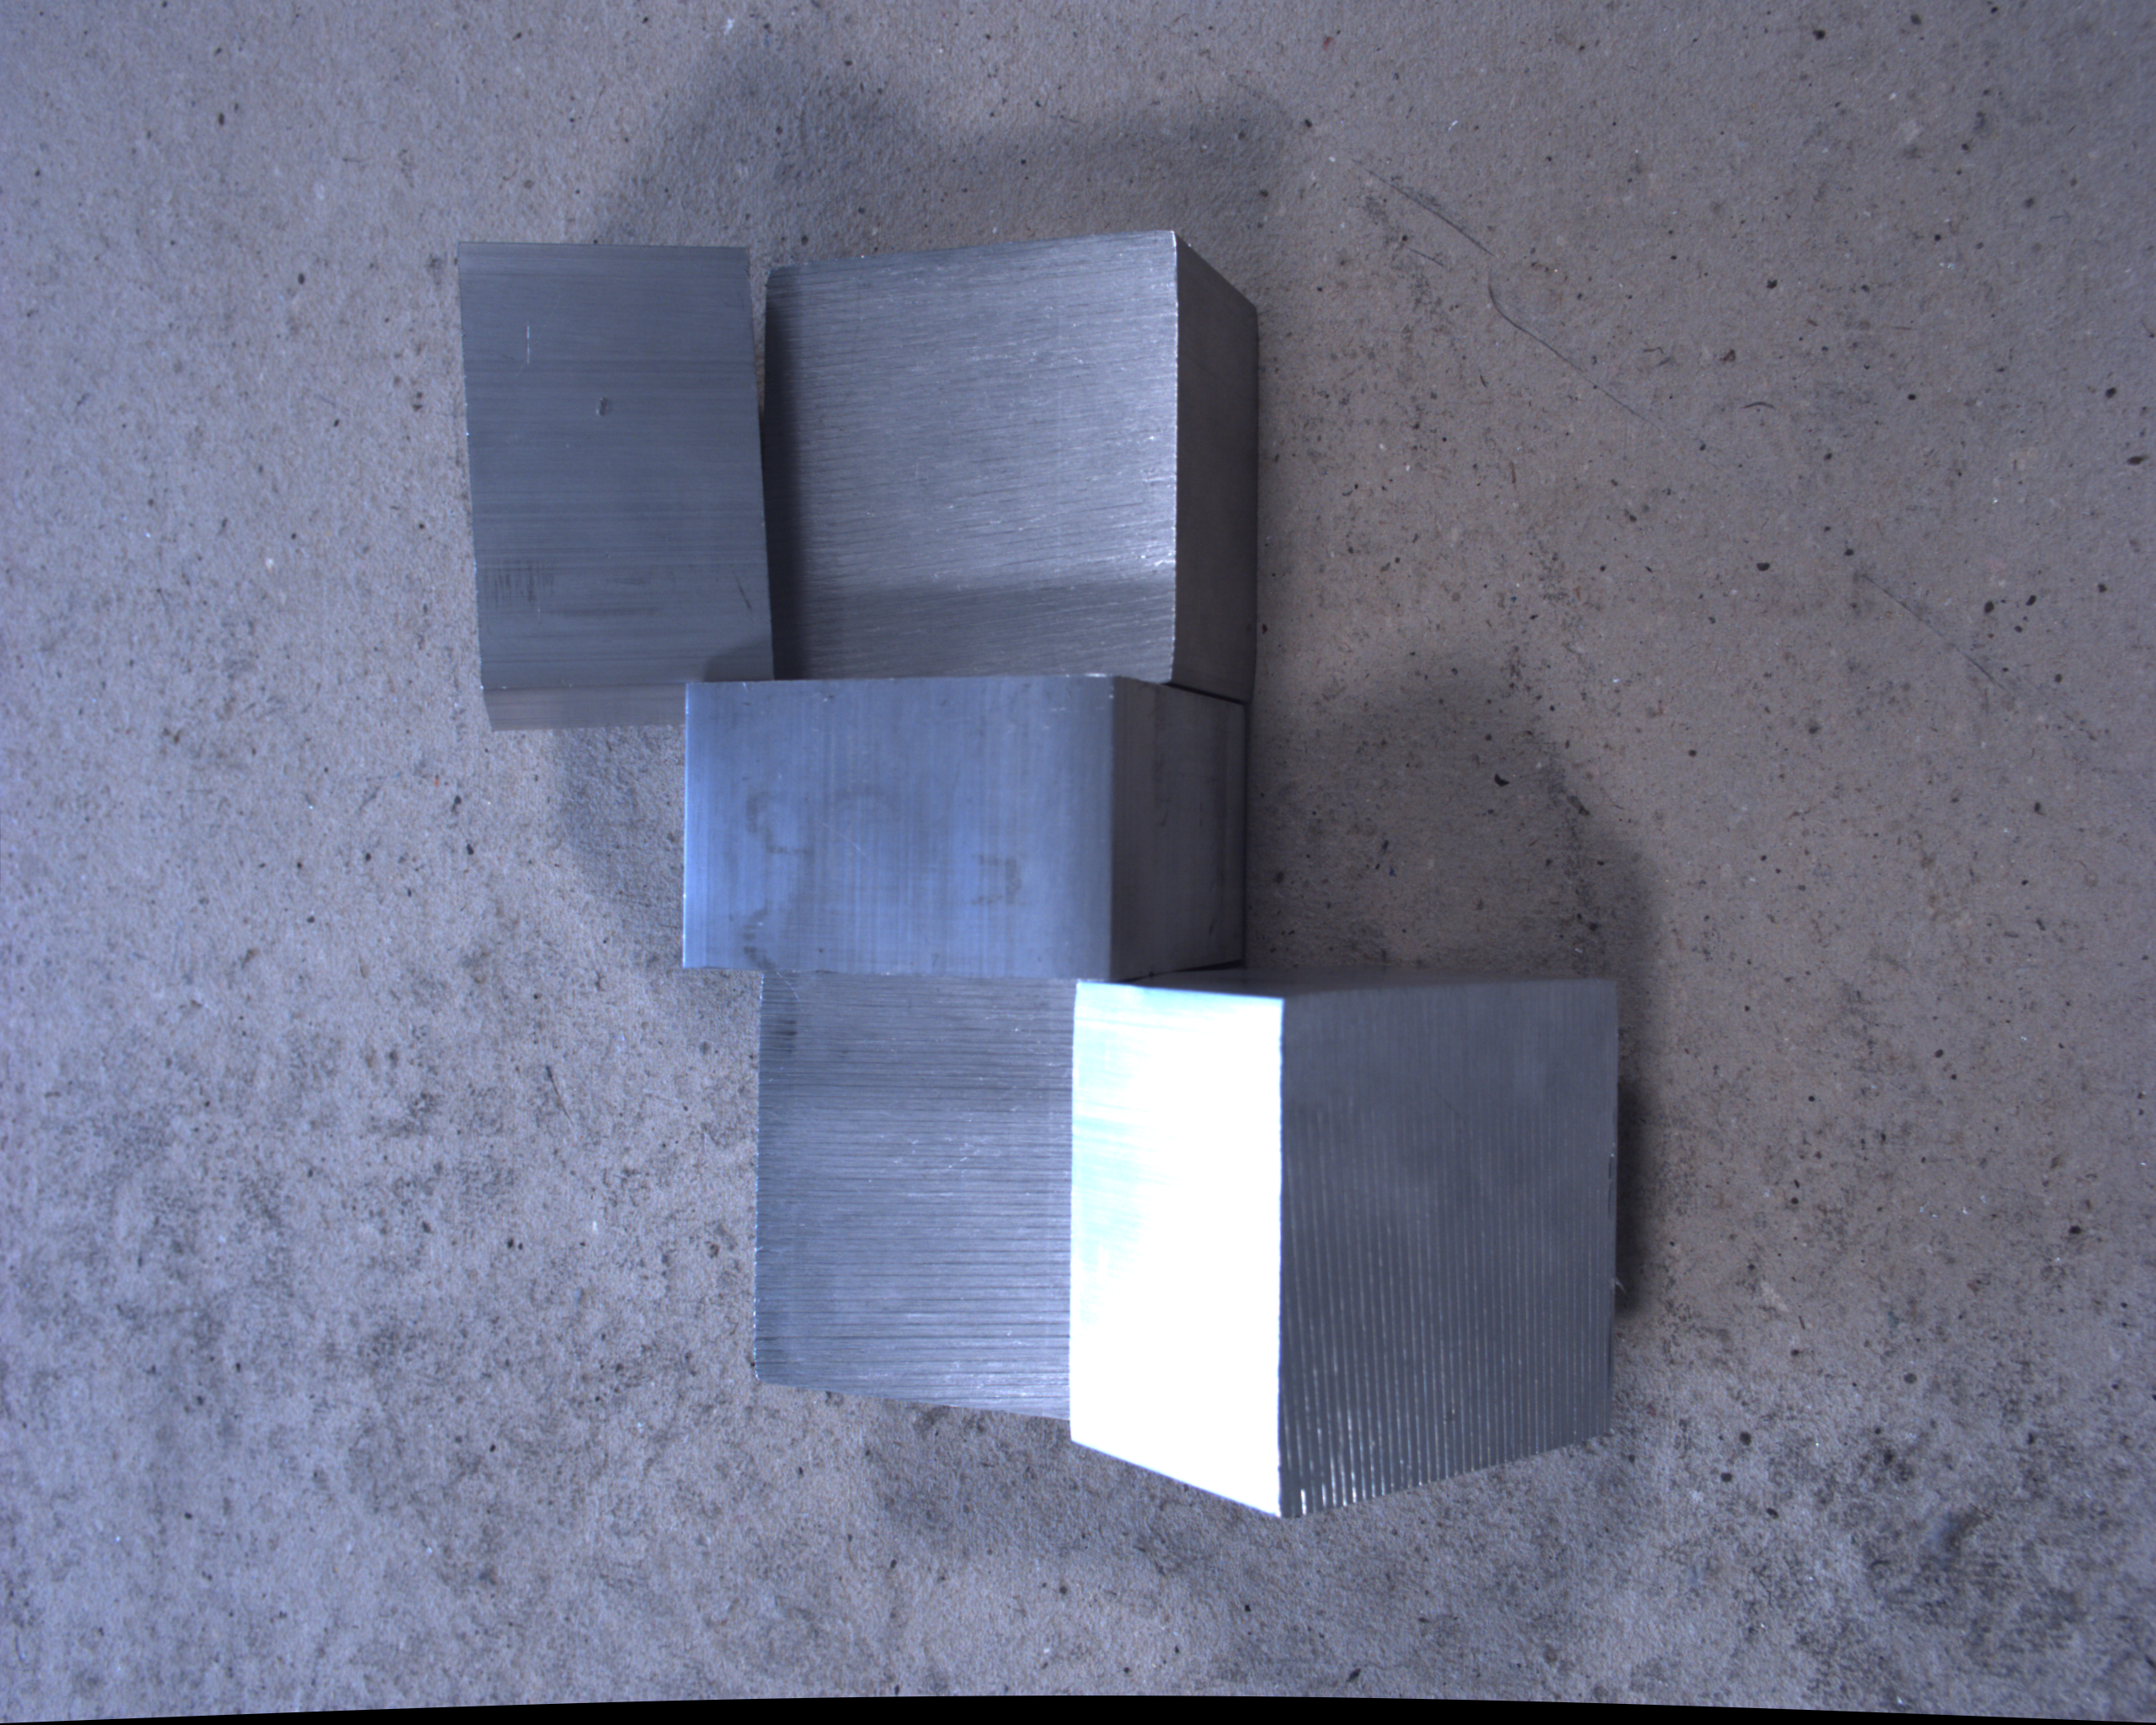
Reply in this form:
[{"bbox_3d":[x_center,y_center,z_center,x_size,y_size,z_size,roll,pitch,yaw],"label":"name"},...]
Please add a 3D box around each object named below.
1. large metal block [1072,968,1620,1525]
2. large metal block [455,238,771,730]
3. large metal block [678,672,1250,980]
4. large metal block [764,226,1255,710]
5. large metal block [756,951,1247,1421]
[{"bbox_3d":[0.047,0.059,0.357,0.050,0.081,0.080,1,90,52],"label":"large metal block"},{"bbox_3d":[-0.091,-0.069,0.406,0.050,0.080,0.080,-3,89,-14],"label":"large metal block"},{"bbox_3d":[-0.018,-0.006,0.387,0.080,0.080,0.050,1,90,20],"label":"large metal block"},{"bbox_3d":[-0.012,-0.071,0.399,0.080,0.050,0.080,1,90,20],"label":"large metal block"},{"bbox_3d":[-0.014,0.058,0.402,0.080,0.050,0.079,1,91,20],"label":"large metal block"}]
